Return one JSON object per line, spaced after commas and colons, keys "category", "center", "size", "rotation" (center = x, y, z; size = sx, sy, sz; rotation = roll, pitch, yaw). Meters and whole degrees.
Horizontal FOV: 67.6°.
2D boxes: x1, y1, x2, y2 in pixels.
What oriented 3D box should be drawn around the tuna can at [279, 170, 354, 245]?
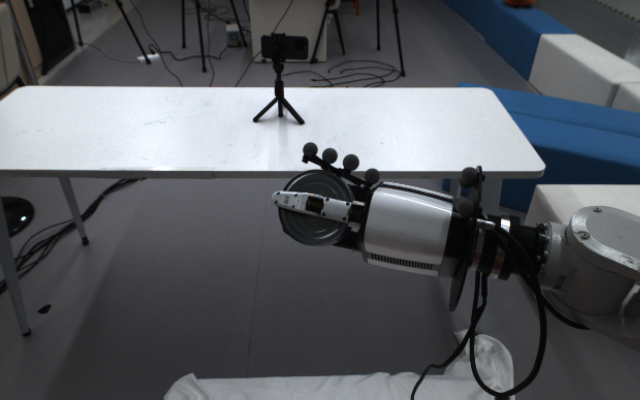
{"category": "tuna can", "center": [0.000, 0.009, 0.550], "size": [0.085, 0.085, 0.034], "rotation": [13, -6, 16]}
